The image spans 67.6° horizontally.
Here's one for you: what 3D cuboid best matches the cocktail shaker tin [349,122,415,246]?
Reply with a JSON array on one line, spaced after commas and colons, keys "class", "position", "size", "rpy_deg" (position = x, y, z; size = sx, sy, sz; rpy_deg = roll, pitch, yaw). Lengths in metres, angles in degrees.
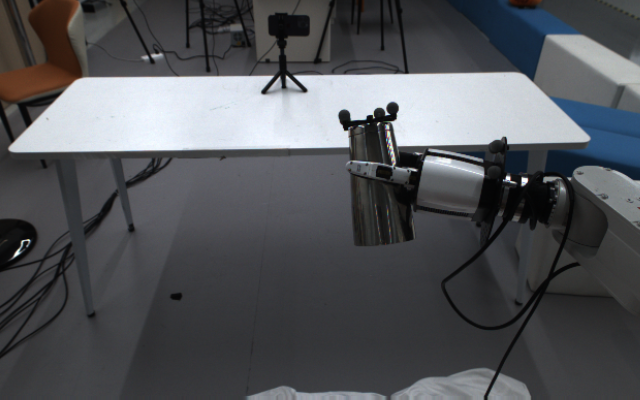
[{"class": "cocktail shaker tin", "position": [0.085, -0.024, 0.711], "size": [0.093, 0.170, 0.093], "rpy_deg": [-8, 1, 0]}]
